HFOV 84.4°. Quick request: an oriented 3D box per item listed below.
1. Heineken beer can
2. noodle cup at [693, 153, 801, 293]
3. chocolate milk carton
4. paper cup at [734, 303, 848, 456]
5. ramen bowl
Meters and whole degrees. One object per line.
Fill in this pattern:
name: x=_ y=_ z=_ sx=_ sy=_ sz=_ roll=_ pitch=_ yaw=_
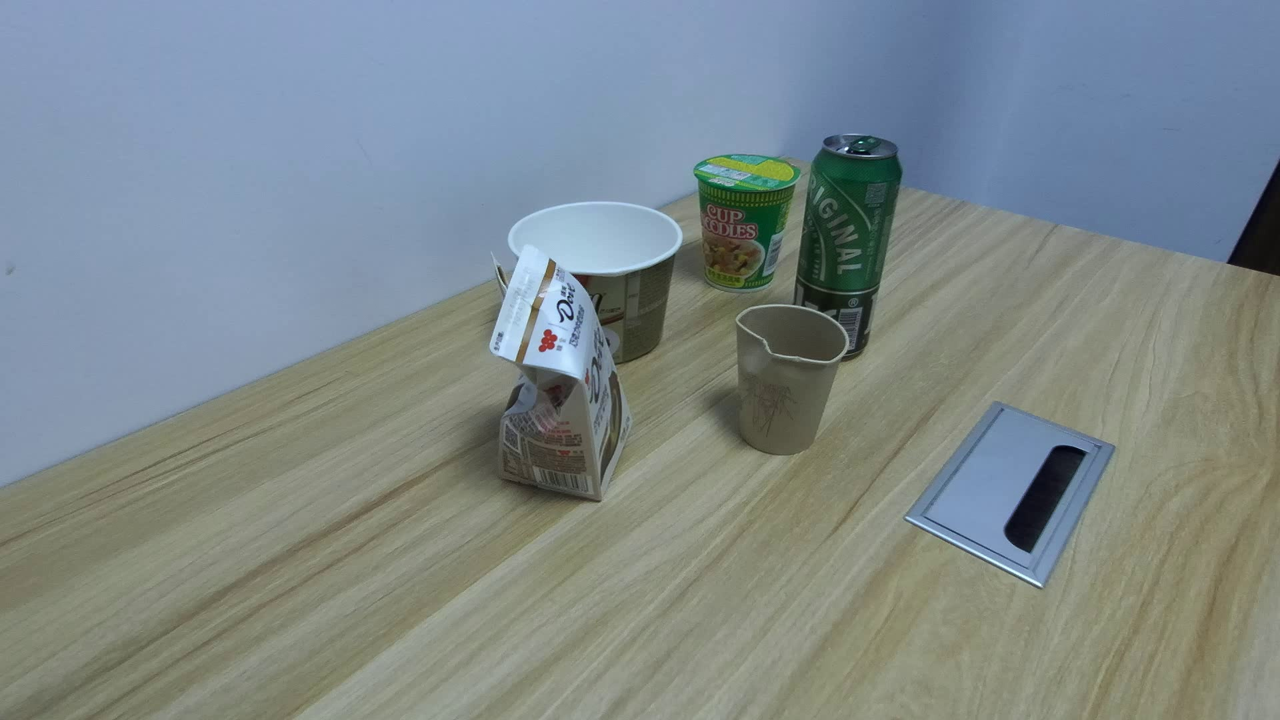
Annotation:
Heineken beer can: x=0.160 y=-0.084 z=0.556 sx=0.067 sy=0.169 sz=0.067 roll=1 pitch=31 yaw=0
noodle cup: x=0.098 y=-0.127 z=0.667 sx=0.097 sy=0.110 sz=0.097 roll=-1 pitch=34 yaw=1
chocolate milk carton: x=-0.055 y=0.011 z=0.437 sx=0.076 sy=0.156 sz=0.089 roll=4 pitch=47 yaw=14
paper cup: x=0.098 y=0.015 z=0.480 sx=0.073 sy=0.081 sz=0.069 roll=5 pitch=33 yaw=6
ramen bowl: x=-0.037 y=-0.062 z=0.590 sx=0.140 sy=0.095 sz=0.140 roll=2 pitch=33 yaw=-1
